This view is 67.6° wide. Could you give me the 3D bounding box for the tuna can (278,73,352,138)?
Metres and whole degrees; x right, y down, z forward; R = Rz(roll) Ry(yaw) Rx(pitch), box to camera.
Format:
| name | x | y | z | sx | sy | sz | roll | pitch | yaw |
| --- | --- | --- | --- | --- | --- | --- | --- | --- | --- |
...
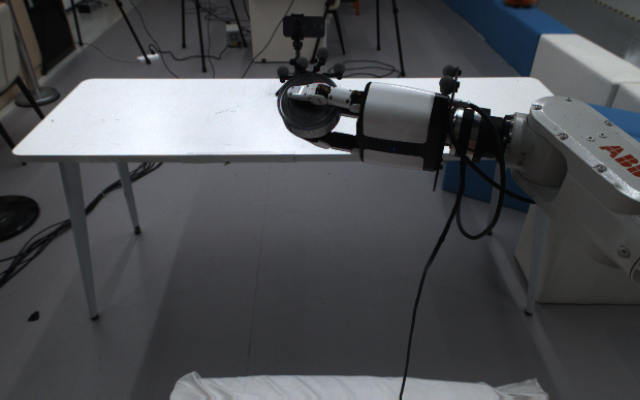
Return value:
| name | x | y | z | sx | sy | sz | roll | pitch | yaw |
| --- | --- | --- | --- | --- | --- | --- | --- | --- | --- |
| tuna can | -0.012 | -0.124 | 0.658 | 0.085 | 0.034 | 0.085 | -2 | 69 | 6 |
